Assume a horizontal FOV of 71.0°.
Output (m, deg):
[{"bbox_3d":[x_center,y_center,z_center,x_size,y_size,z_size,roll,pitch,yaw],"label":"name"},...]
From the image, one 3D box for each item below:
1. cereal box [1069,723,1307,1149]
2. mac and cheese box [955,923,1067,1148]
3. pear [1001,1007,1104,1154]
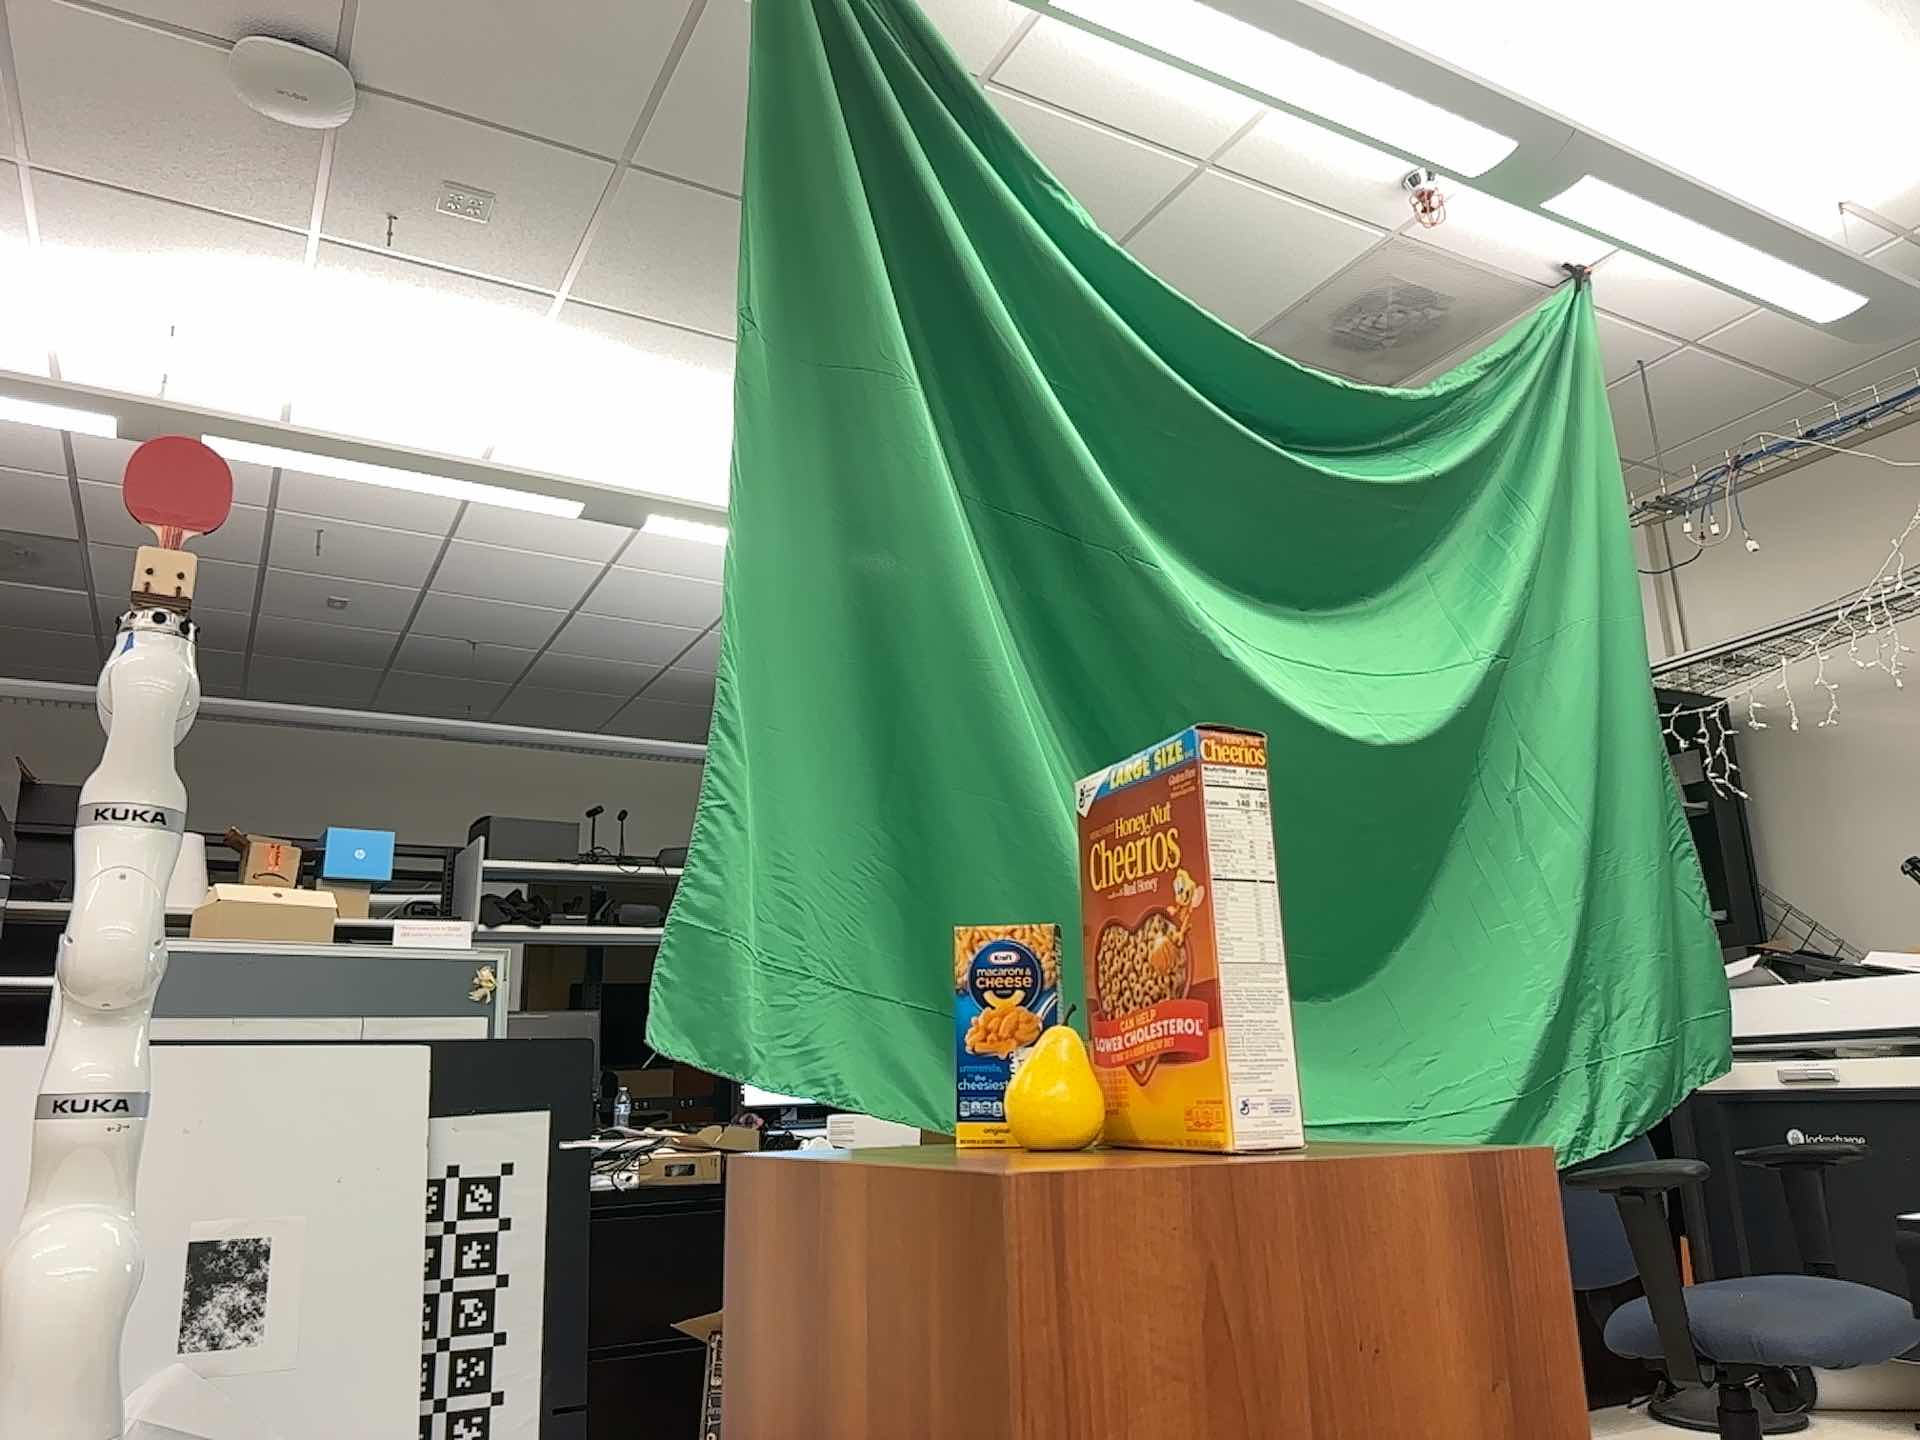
[{"bbox_3d":[0.168,0.174,1.058,0.065,0.297,0.195,3,-15,-23],"label":"cereal box"},{"bbox_3d":[0.044,0.269,1.155,0.088,0.181,0.035,-6,-14,16],"label":"mac and cheese box"},{"bbox_3d":[0.073,0.280,1.053,0.080,0.111,0.080,2,-14,1],"label":"pear"}]
